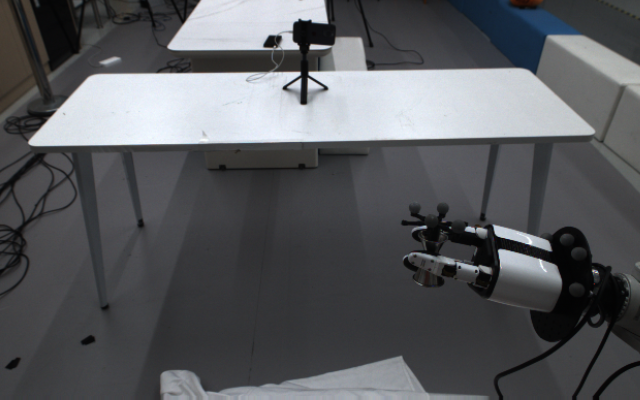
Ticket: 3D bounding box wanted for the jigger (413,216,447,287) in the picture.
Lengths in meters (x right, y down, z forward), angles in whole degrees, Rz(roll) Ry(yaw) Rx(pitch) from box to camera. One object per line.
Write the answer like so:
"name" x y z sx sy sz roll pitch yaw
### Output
"jigger" 0.151 0.078 0.669 0.043 0.071 0.043 1 20 0
